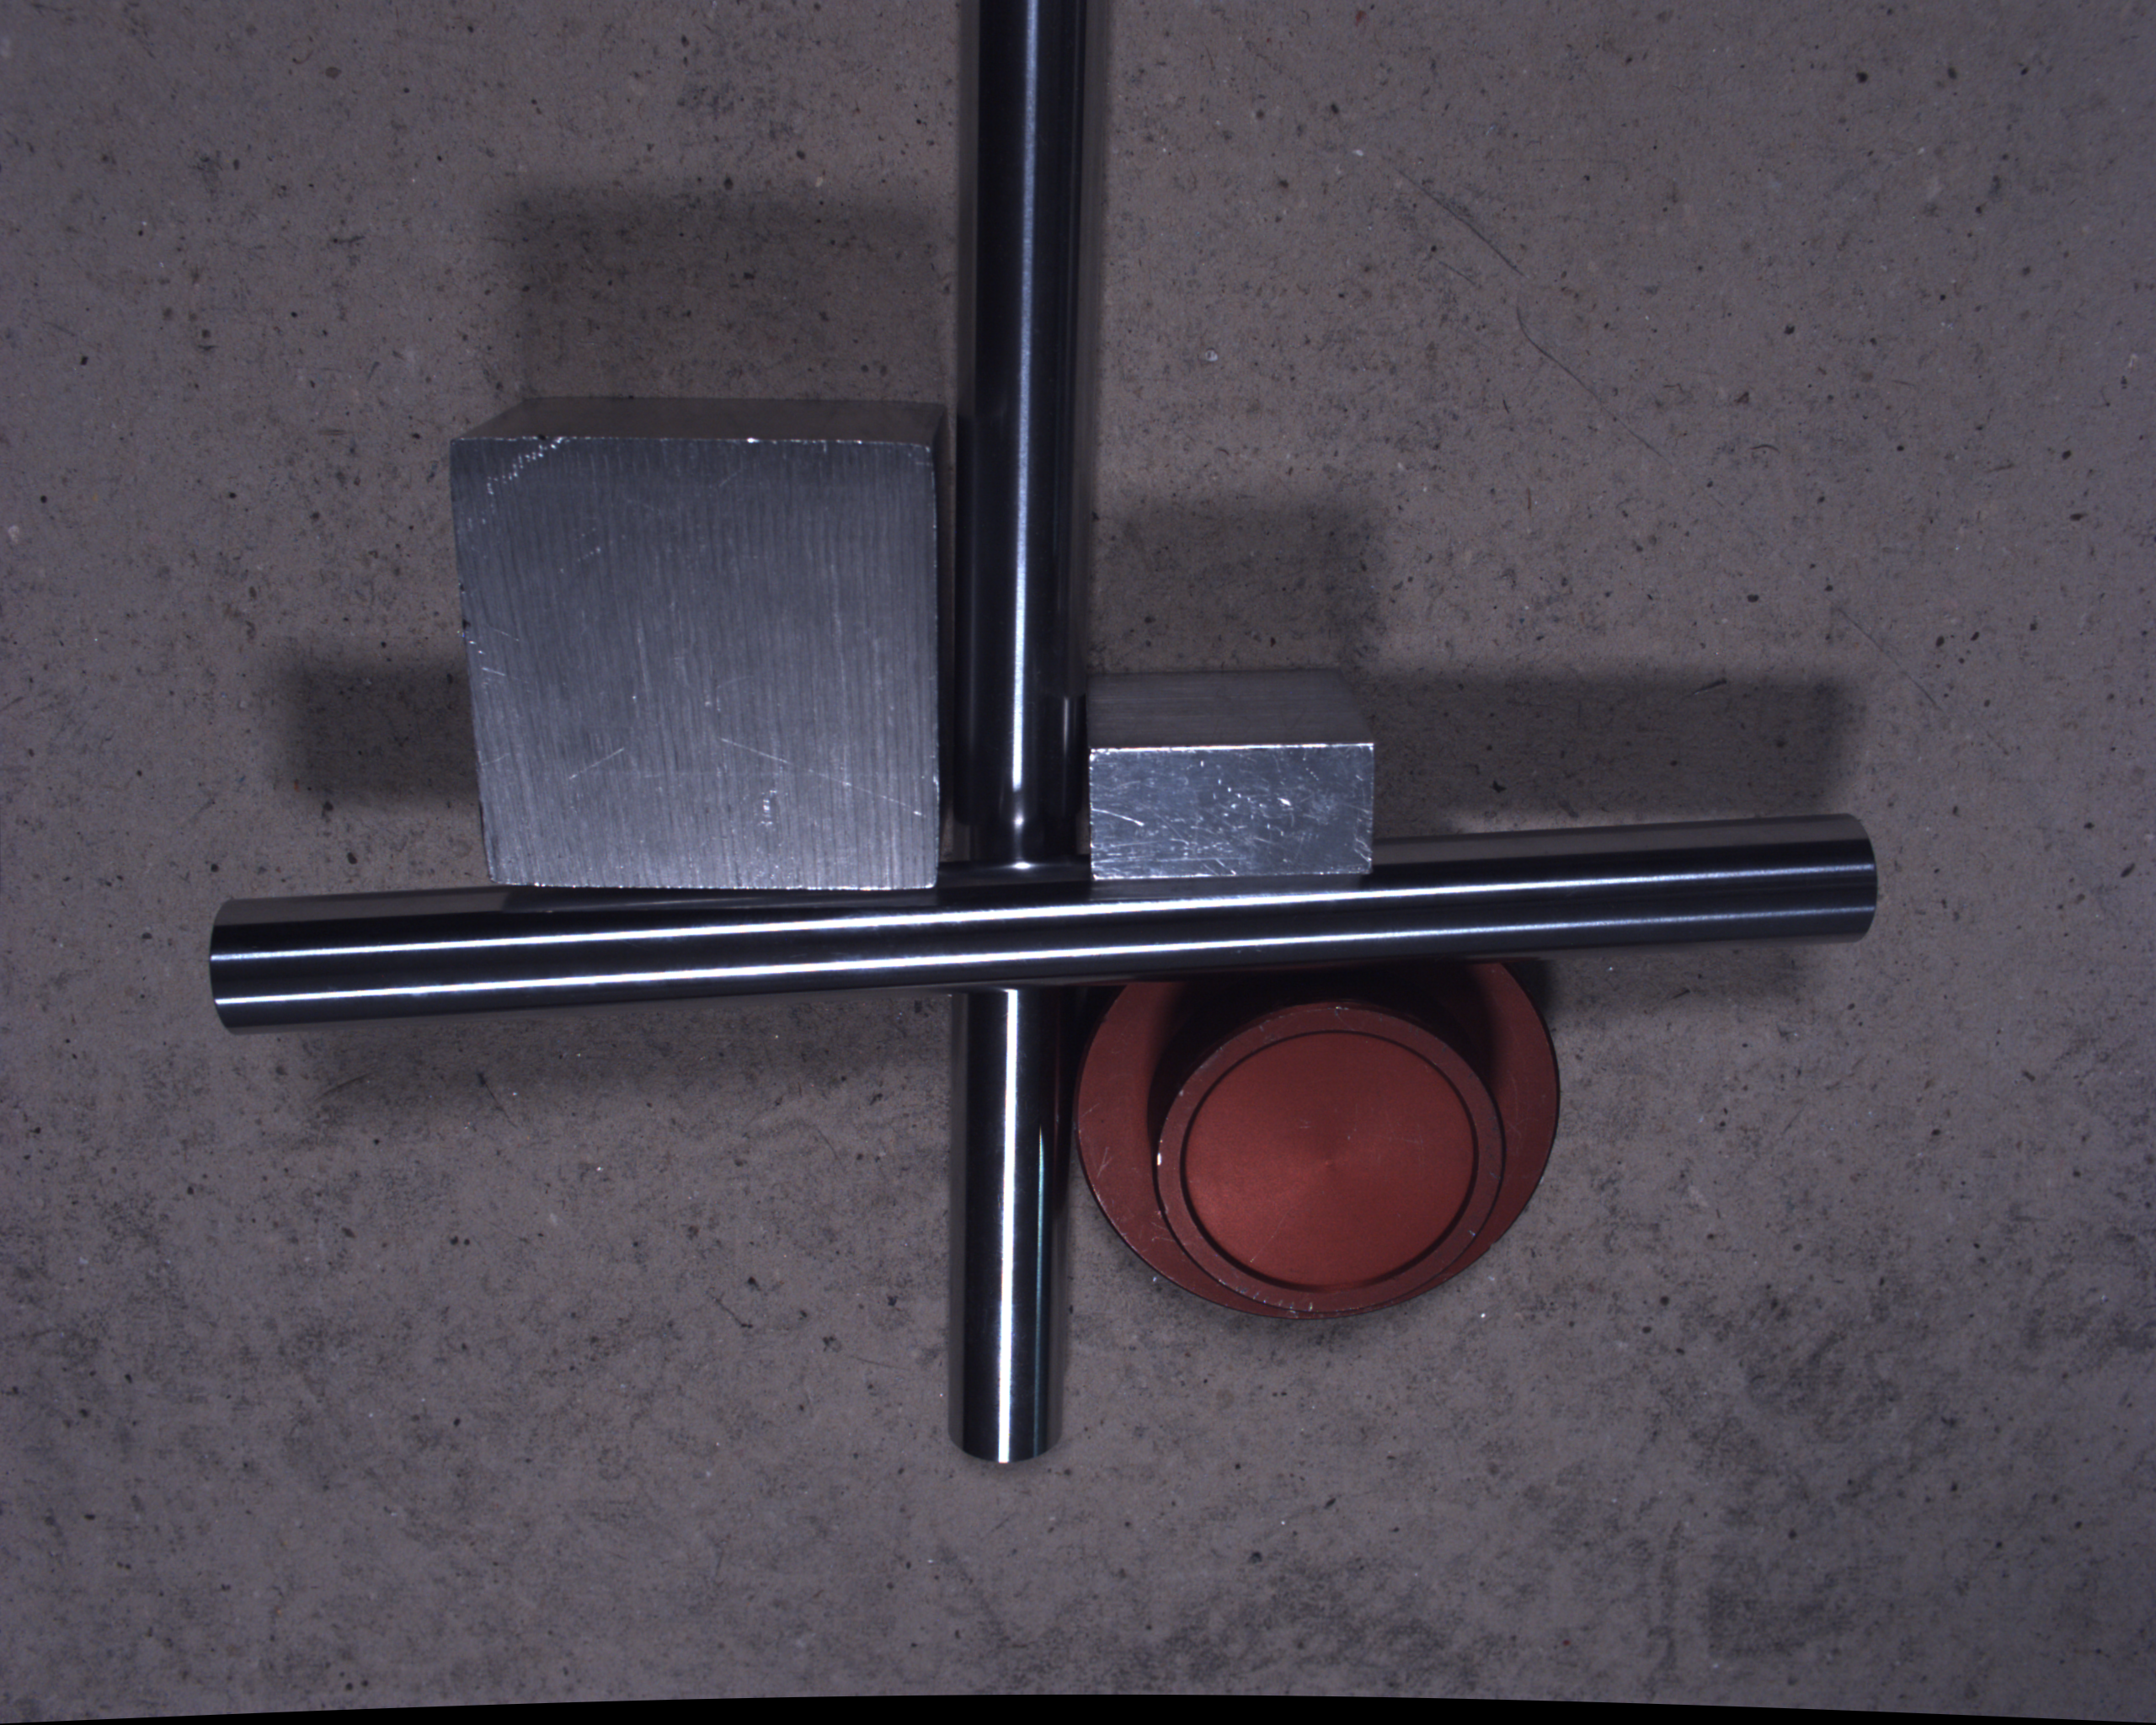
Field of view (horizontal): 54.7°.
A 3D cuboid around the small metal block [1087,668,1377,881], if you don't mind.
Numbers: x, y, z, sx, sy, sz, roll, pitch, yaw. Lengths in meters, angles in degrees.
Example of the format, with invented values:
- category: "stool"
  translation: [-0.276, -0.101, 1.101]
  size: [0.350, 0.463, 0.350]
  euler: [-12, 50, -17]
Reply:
- category: "small metal block"
  translation: [0.027, -0.018, 0.392]
  size: [0.050, 0.050, 0.025]
  euler: [-1, 110, 0]

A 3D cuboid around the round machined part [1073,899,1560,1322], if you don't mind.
- category: "round machined part"
  translation: [0.048, 0.052, 0.421]
  size: [0.099, 0.042, 0.097]
  euler: [0, 110, -1]

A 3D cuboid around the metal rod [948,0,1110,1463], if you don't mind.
- category: "metal rod"
  translation: [-0.011, -0.016, 0.405]
  size: [0.025, 0.025, 0.298]
  euler: [1, 110, -1]

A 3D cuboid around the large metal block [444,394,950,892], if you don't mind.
- category: "large metal block"
  translation: [-0.065, -0.041, 0.381]
  size: [0.081, 0.050, 0.079]
  euler: [1, 110, -1]

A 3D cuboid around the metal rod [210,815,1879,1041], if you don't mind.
- category: "metal rod"
  translation: [-0.003, 0.012, 0.389]
  size: [0.302, 0.025, 0.025]
  euler: [-3, 110, -4]
